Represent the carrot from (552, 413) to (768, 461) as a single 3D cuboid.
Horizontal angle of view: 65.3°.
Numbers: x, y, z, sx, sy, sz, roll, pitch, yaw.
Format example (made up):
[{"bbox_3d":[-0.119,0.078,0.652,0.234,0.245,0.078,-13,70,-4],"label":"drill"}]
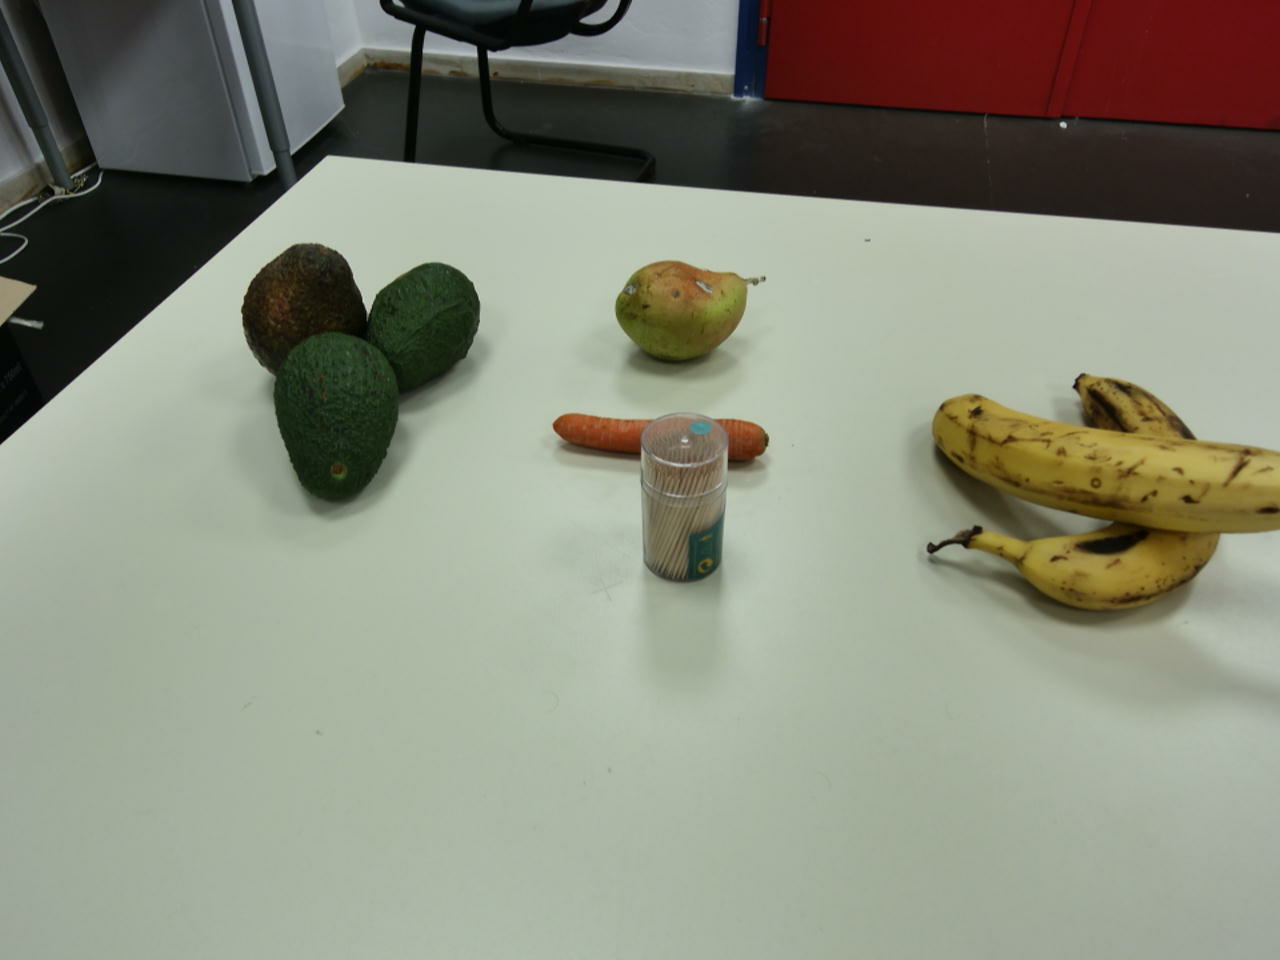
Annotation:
[{"bbox_3d":[0.011,-0.026,0.562,0.122,0.023,0.024,6,39,8],"label":"carrot"}]
